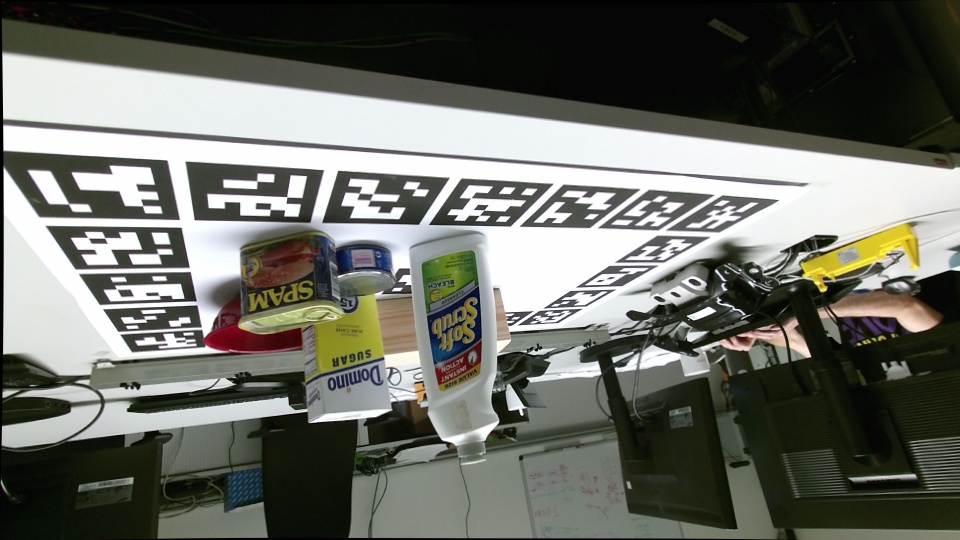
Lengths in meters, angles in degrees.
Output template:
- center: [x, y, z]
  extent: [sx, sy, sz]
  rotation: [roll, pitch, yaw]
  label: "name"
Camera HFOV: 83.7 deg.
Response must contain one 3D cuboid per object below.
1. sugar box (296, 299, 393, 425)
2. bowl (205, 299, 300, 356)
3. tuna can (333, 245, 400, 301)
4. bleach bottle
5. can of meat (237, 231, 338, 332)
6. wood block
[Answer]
- center: [-0.169, 0.094, 0.650]
  extent: [0.093, 0.175, 0.045]
  rotation: [5, 152, -45]
  label: "sugar box"
- center: [-0.284, 0.072, 0.708]
  extent: [0.162, 0.055, 0.162]
  rotation: [-13, 161, -5]
  label: "bowl"
- center: [-0.139, 0.004, 0.632]
  extent: [0.086, 0.033, 0.086]
  rotation: [-12, 157, -5]
  label: "tuna can"
- center: [-0.019, 0.087, 0.617]
  extent: [0.103, 0.249, 0.068]
  rotation: [-12, 160, 0]
  label: "bleach bottle"
- center: [-0.205, 0.013, 0.569]
  extent: [0.102, 0.083, 0.058]
  rotation: [-12, 162, 5]
  label: "can of meat"
- center: [-0.062, 0.096, 0.848]
  extent: [0.207, 0.089, 0.091]
  rotation: [-5, 154, -15]
  label: "wood block"
